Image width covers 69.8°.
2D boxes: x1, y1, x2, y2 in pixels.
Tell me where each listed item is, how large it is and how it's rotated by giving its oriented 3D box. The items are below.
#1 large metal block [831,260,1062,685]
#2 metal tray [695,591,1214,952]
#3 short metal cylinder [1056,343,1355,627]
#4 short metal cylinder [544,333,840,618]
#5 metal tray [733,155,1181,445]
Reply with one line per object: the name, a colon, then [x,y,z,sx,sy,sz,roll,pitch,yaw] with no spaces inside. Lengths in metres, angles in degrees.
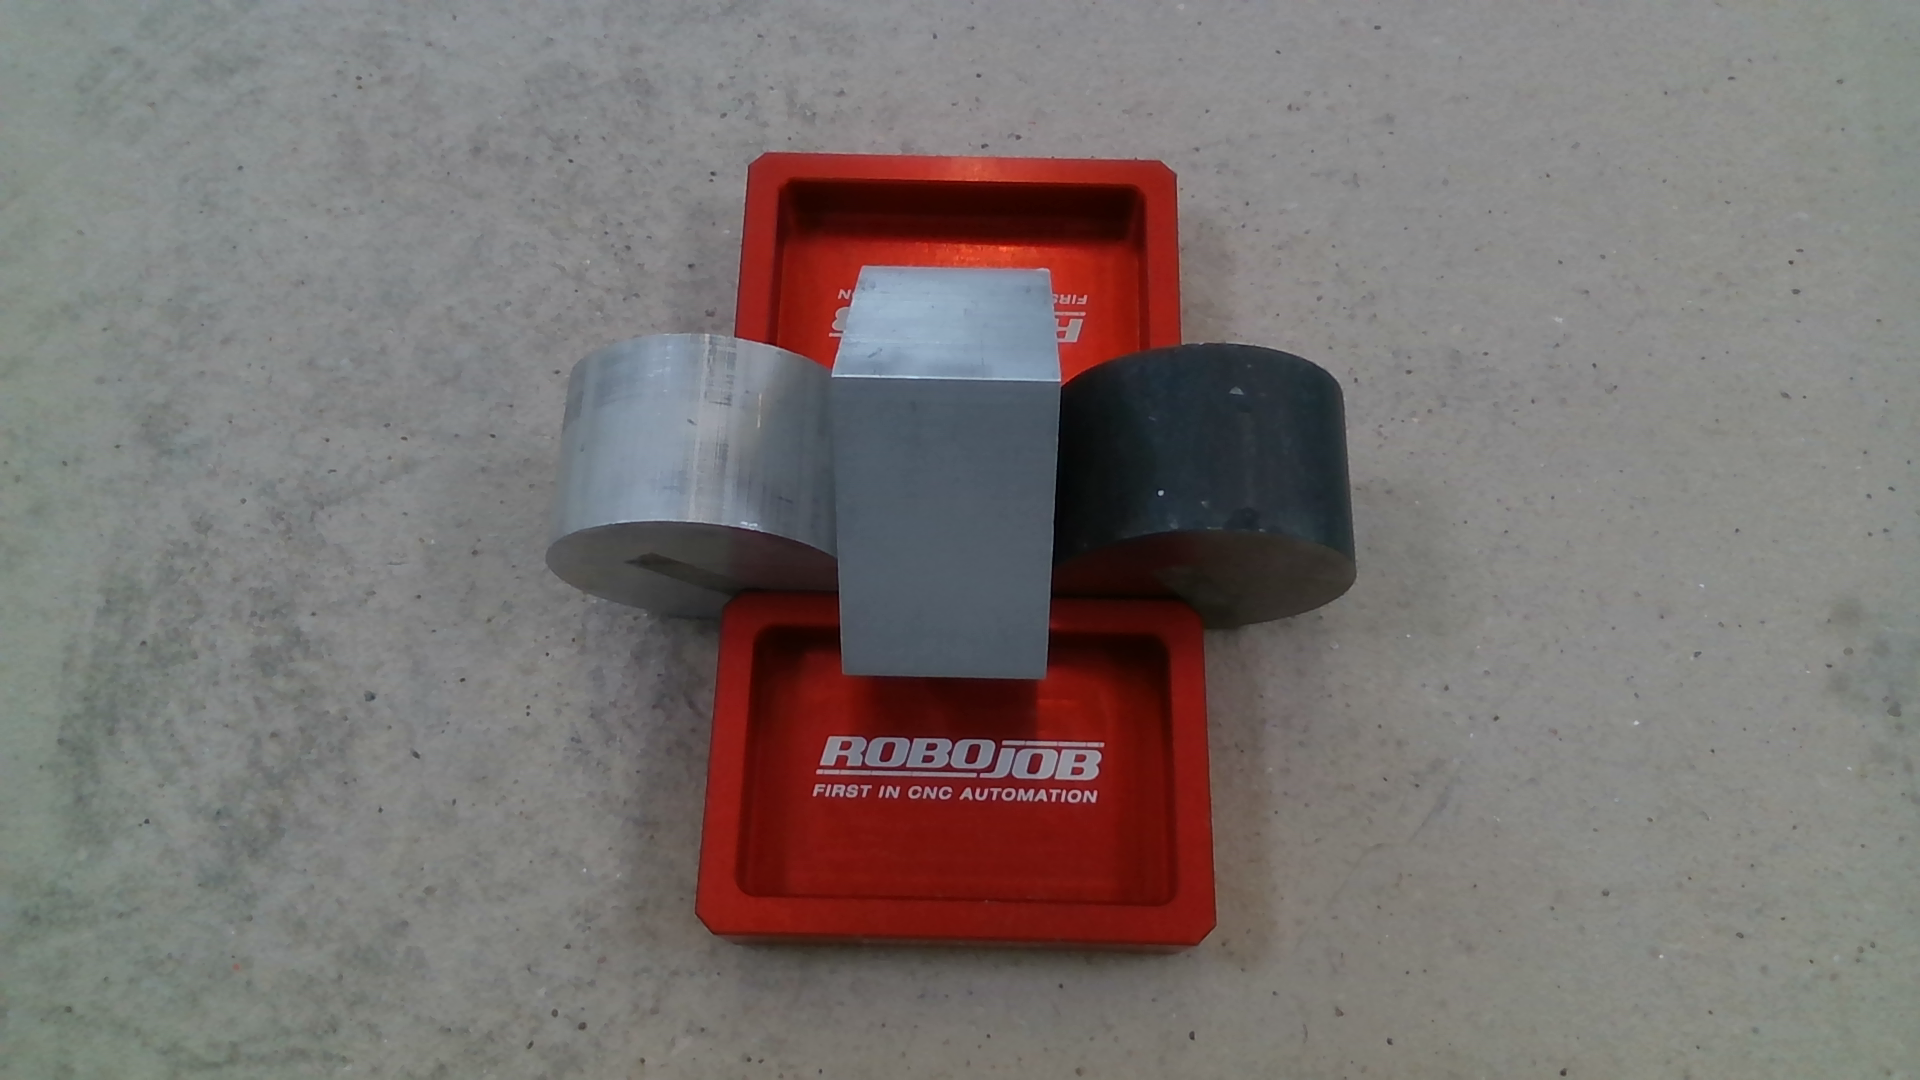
large metal block: [-0.002,-0.020,0.352,0.050,0.080,0.080,1,30,1]
metal tray: [0.000,0.062,0.372,0.130,0.030,0.090,1,70,0]
short metal cylinder: [0.063,-0.012,0.371,0.080,0.080,0.050,2,70,1]
short metal cylinder: [-0.067,-0.014,0.372,0.080,0.080,0.050,2,70,1]
metal tray: [0.000,-0.069,0.418,0.130,0.030,0.090,1,70,0]
